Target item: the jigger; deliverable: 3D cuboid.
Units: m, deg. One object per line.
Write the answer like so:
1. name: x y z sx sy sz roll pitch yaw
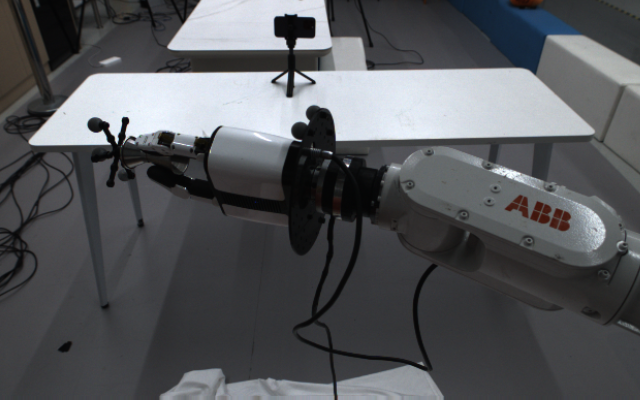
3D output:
1. jigger: -0.189 -0.057 0.579 0.071 0.043 0.043 4 34 13
